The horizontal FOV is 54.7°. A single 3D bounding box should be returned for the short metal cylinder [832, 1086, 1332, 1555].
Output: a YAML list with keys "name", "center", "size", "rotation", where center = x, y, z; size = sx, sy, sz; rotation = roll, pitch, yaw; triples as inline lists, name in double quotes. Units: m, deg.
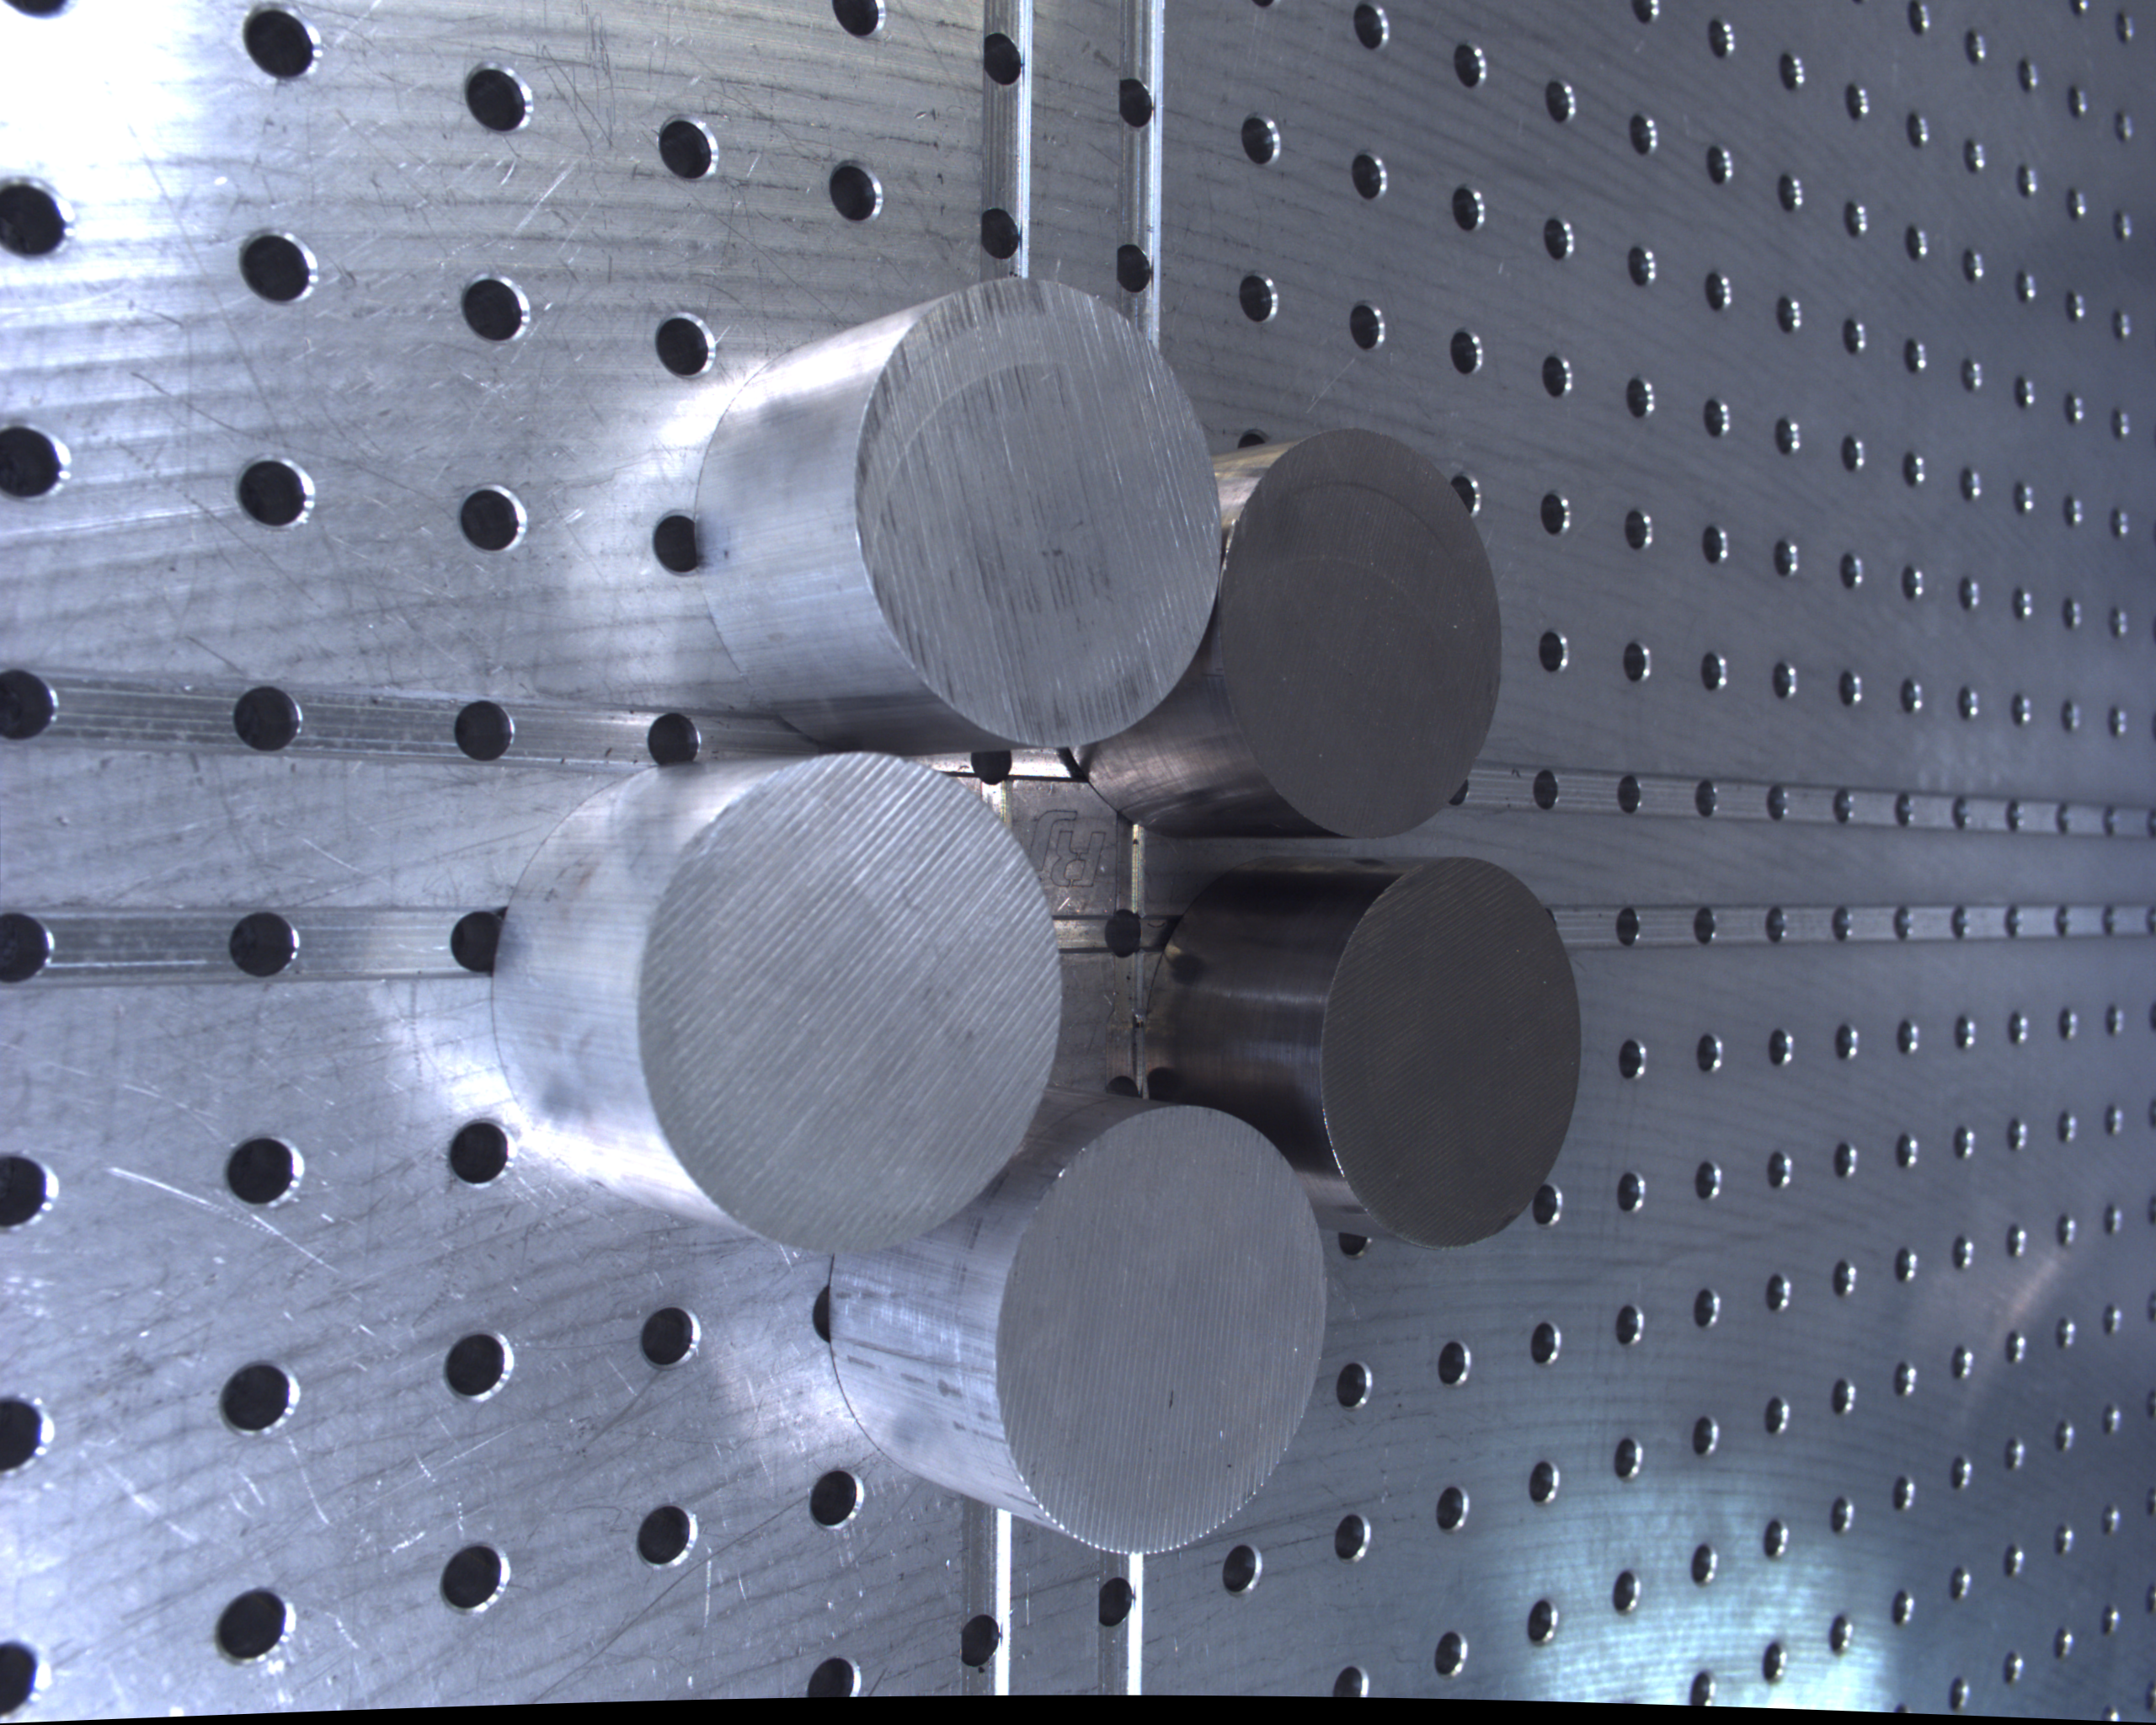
- name: "short metal cylinder"
  center: [0.002, 0.083, 0.392]
  size: [0.081, 0.050, 0.080]
  rotation: [0, 90, -39]

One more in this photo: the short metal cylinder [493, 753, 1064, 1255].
- name: "short metal cylinder"
  center: [-0.049, 0.022, 0.351]
  size: [0.081, 0.050, 0.079]
  rotation: [-1, 91, -40]

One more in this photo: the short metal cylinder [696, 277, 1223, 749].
- name: "short metal cylinder"
  center: [-0.020, -0.060, 0.375]
  size: [0.081, 0.050, 0.079]
  rotation: [0, 91, -40]

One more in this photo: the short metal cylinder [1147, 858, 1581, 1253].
- name: "short metal cylinder"
  center: [0.061, 0.039, 0.443]
  size: [0.081, 0.050, 0.079]
  rotation: [-2, 93, -40]

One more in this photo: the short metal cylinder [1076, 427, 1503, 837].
- name: "short metal cylinder"
  center: [0.041, -0.045, 0.425]
  size: [0.081, 0.050, 0.079]
  rotation: [0, 91, -40]
